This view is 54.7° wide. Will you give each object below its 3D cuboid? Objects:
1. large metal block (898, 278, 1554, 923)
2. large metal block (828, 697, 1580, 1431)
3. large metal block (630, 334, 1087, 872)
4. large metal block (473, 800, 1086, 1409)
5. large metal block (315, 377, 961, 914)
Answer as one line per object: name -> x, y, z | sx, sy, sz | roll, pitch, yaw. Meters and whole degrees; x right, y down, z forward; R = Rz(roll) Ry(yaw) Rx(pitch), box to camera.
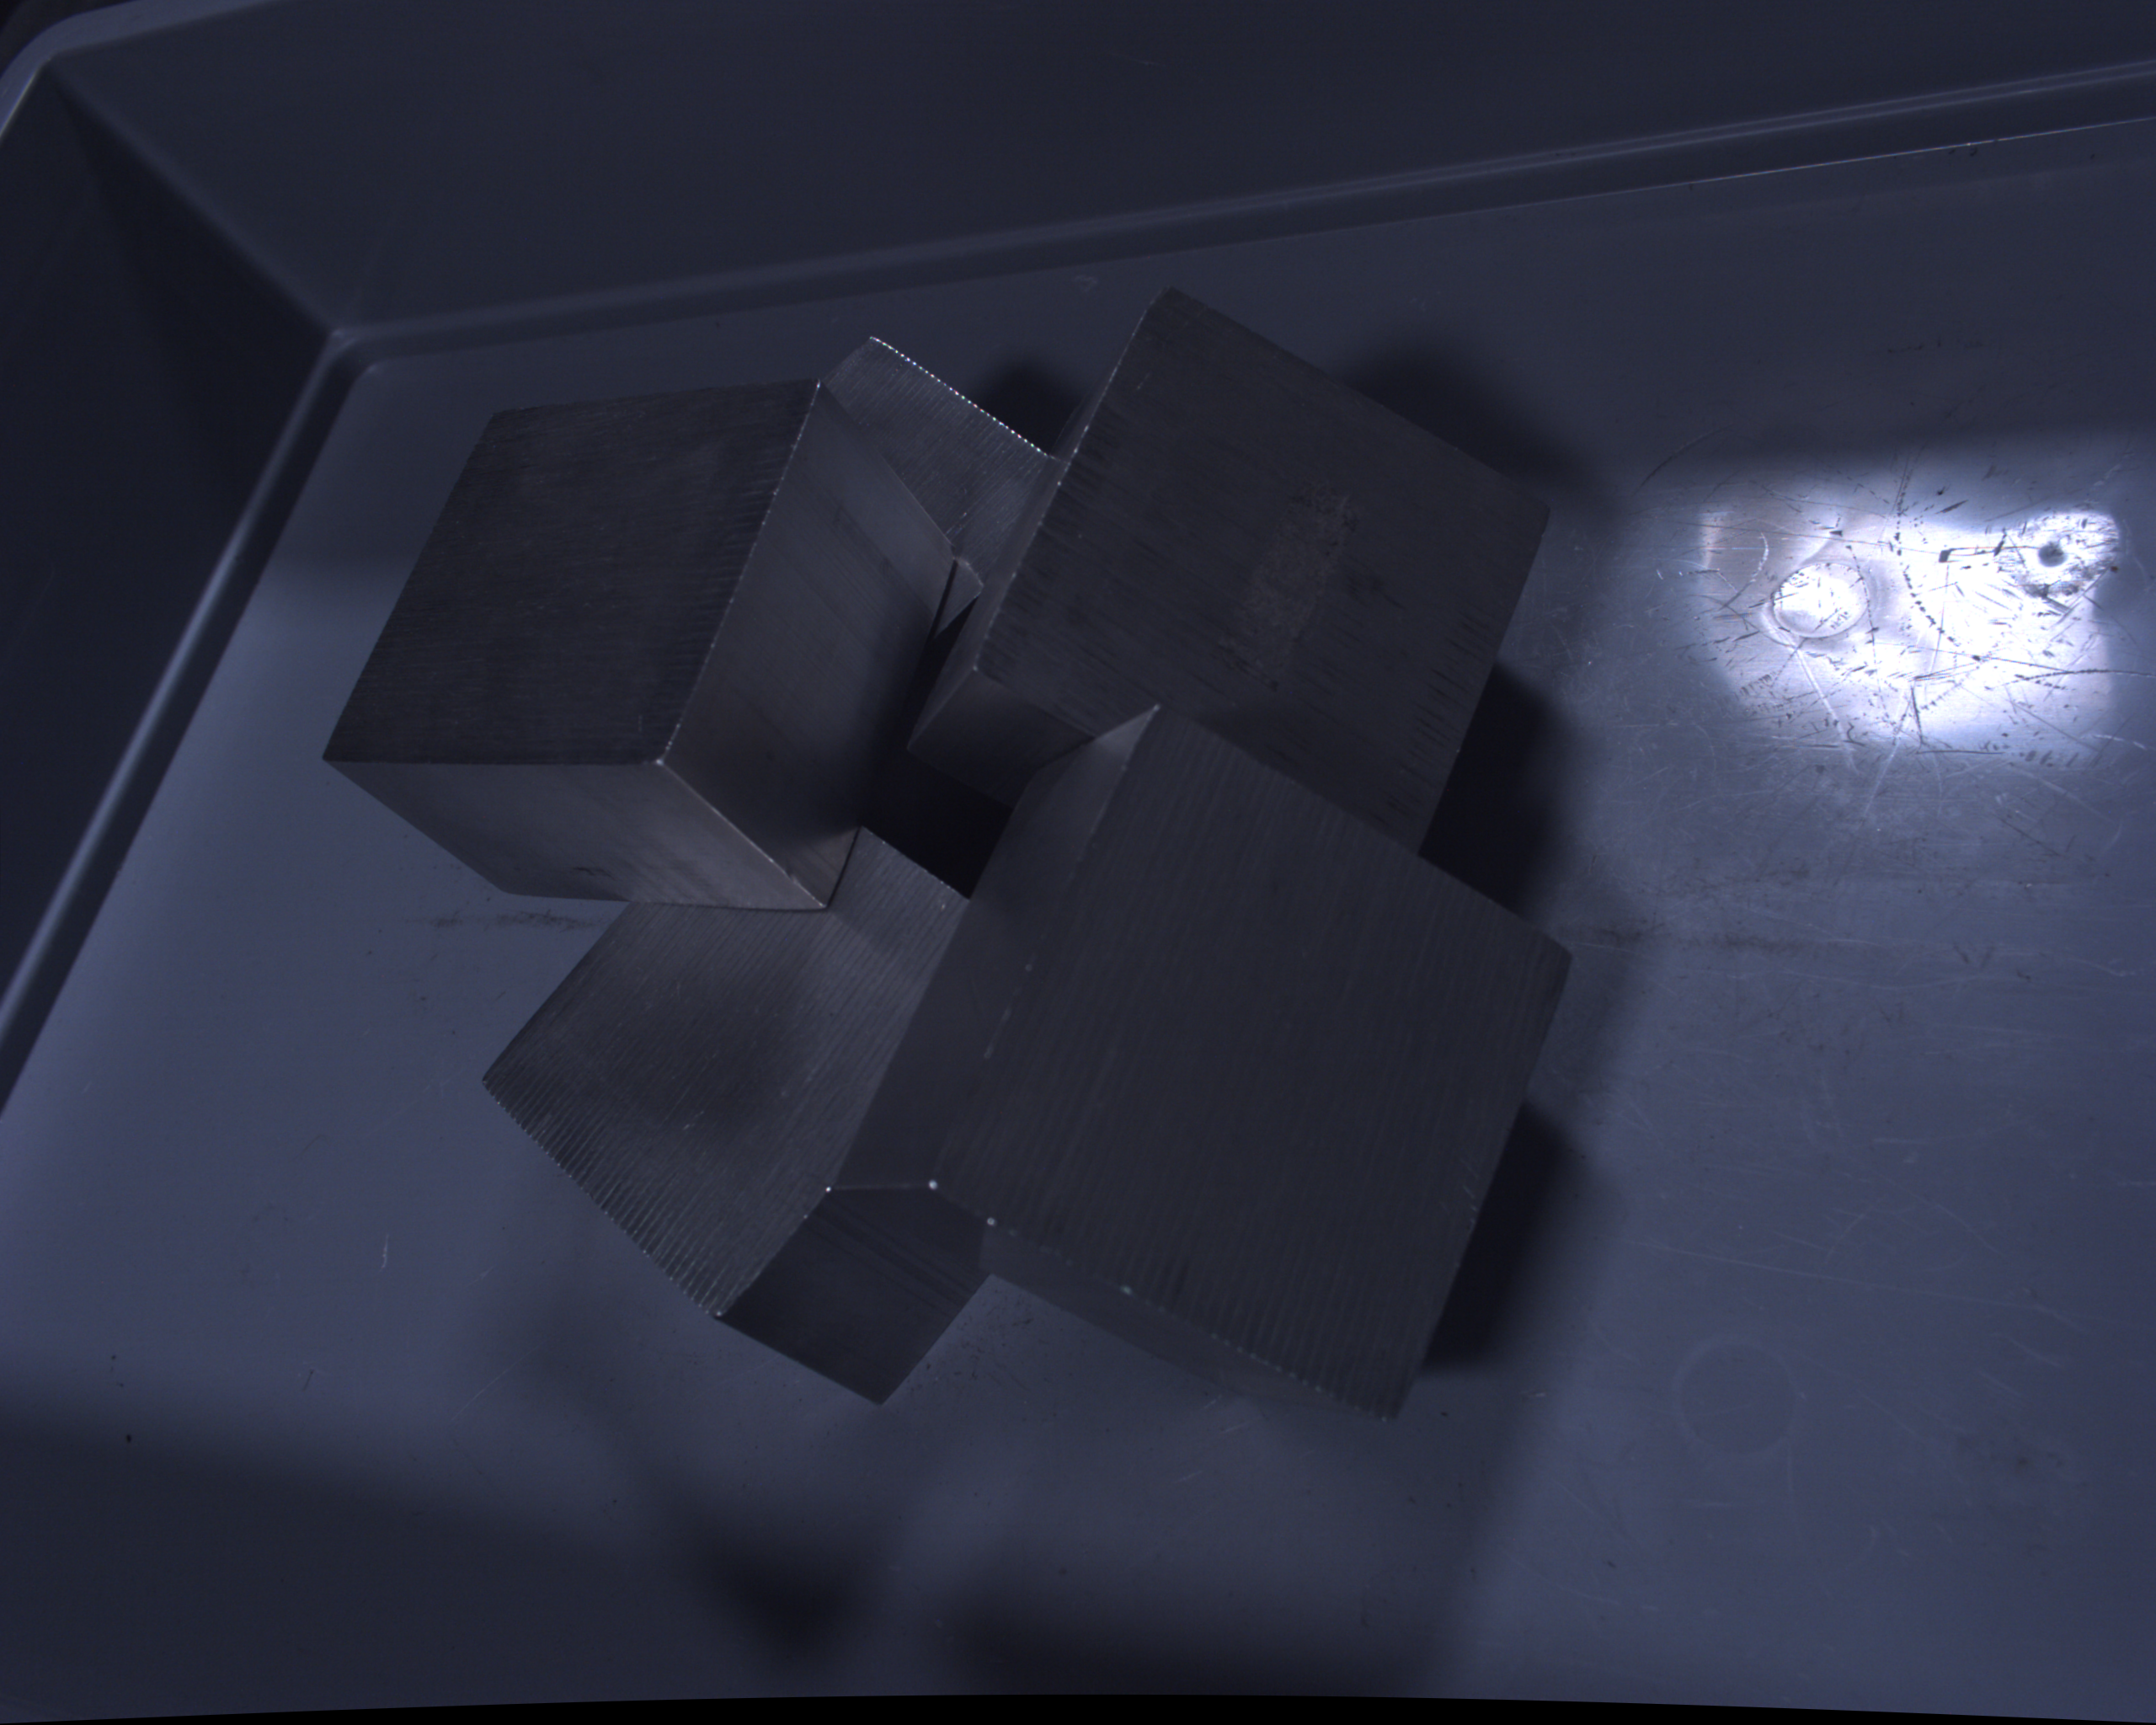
large metal block -> 0.026, -0.042, 0.371 | 0.080, 0.050, 0.080 | 28, 71, -10
large metal block -> 0.020, 0.033, 0.328 | 0.080, 0.080, 0.050 | -65, 16, -18
large metal block -> -0.039, -0.053, 0.440 | 0.080, 0.050, 0.080 | -45, 51, -4
large metal block -> -0.049, 0.038, 0.385 | 0.080, 0.050, 0.080 | 34, 80, 38
large metal block -> -0.079, -0.039, 0.385 | 0.080, 0.050, 0.080 | 2, 61, 30
